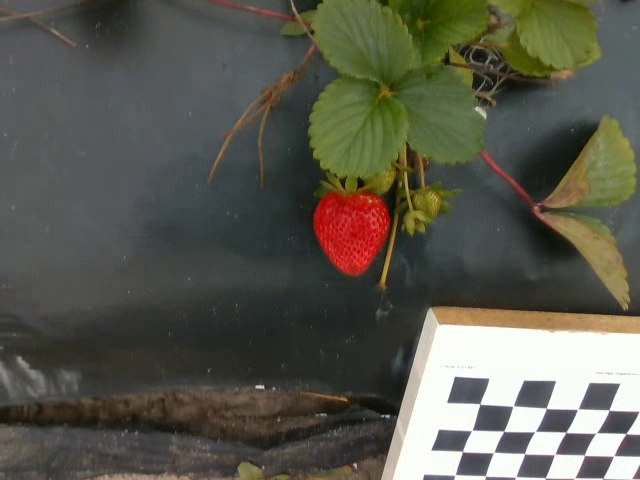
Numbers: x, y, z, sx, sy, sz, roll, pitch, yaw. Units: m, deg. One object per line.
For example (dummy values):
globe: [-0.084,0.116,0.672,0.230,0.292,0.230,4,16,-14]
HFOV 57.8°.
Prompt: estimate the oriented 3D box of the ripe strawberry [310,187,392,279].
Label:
ripe strawberry: [0.006,-0.001,0.098,0.018,0.017,0.014,5,-16,-20]
